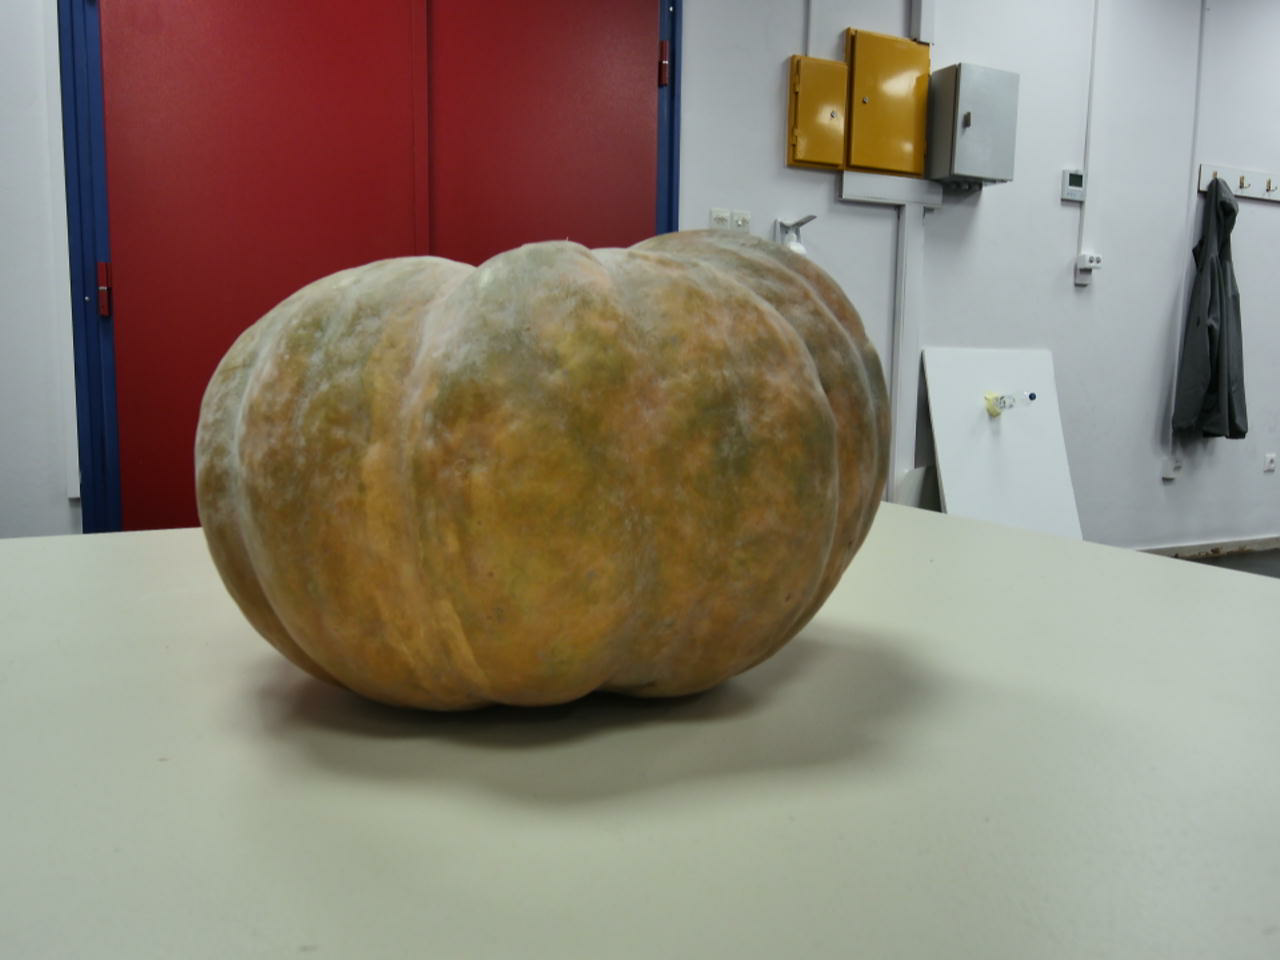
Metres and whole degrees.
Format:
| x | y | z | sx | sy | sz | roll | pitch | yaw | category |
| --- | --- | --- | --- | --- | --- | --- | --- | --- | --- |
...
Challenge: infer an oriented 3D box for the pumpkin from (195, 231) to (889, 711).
| x | y | z | sx | sy | sz | roll | pitch | yaw | category |
| --- | --- | --- | --- | --- | --- | --- | --- | --- | --- |
| -0.036 | -0.009 | 0.378 | 0.252 | 0.168 | 0.252 | 0 | 4 | 0 | pumpkin |
